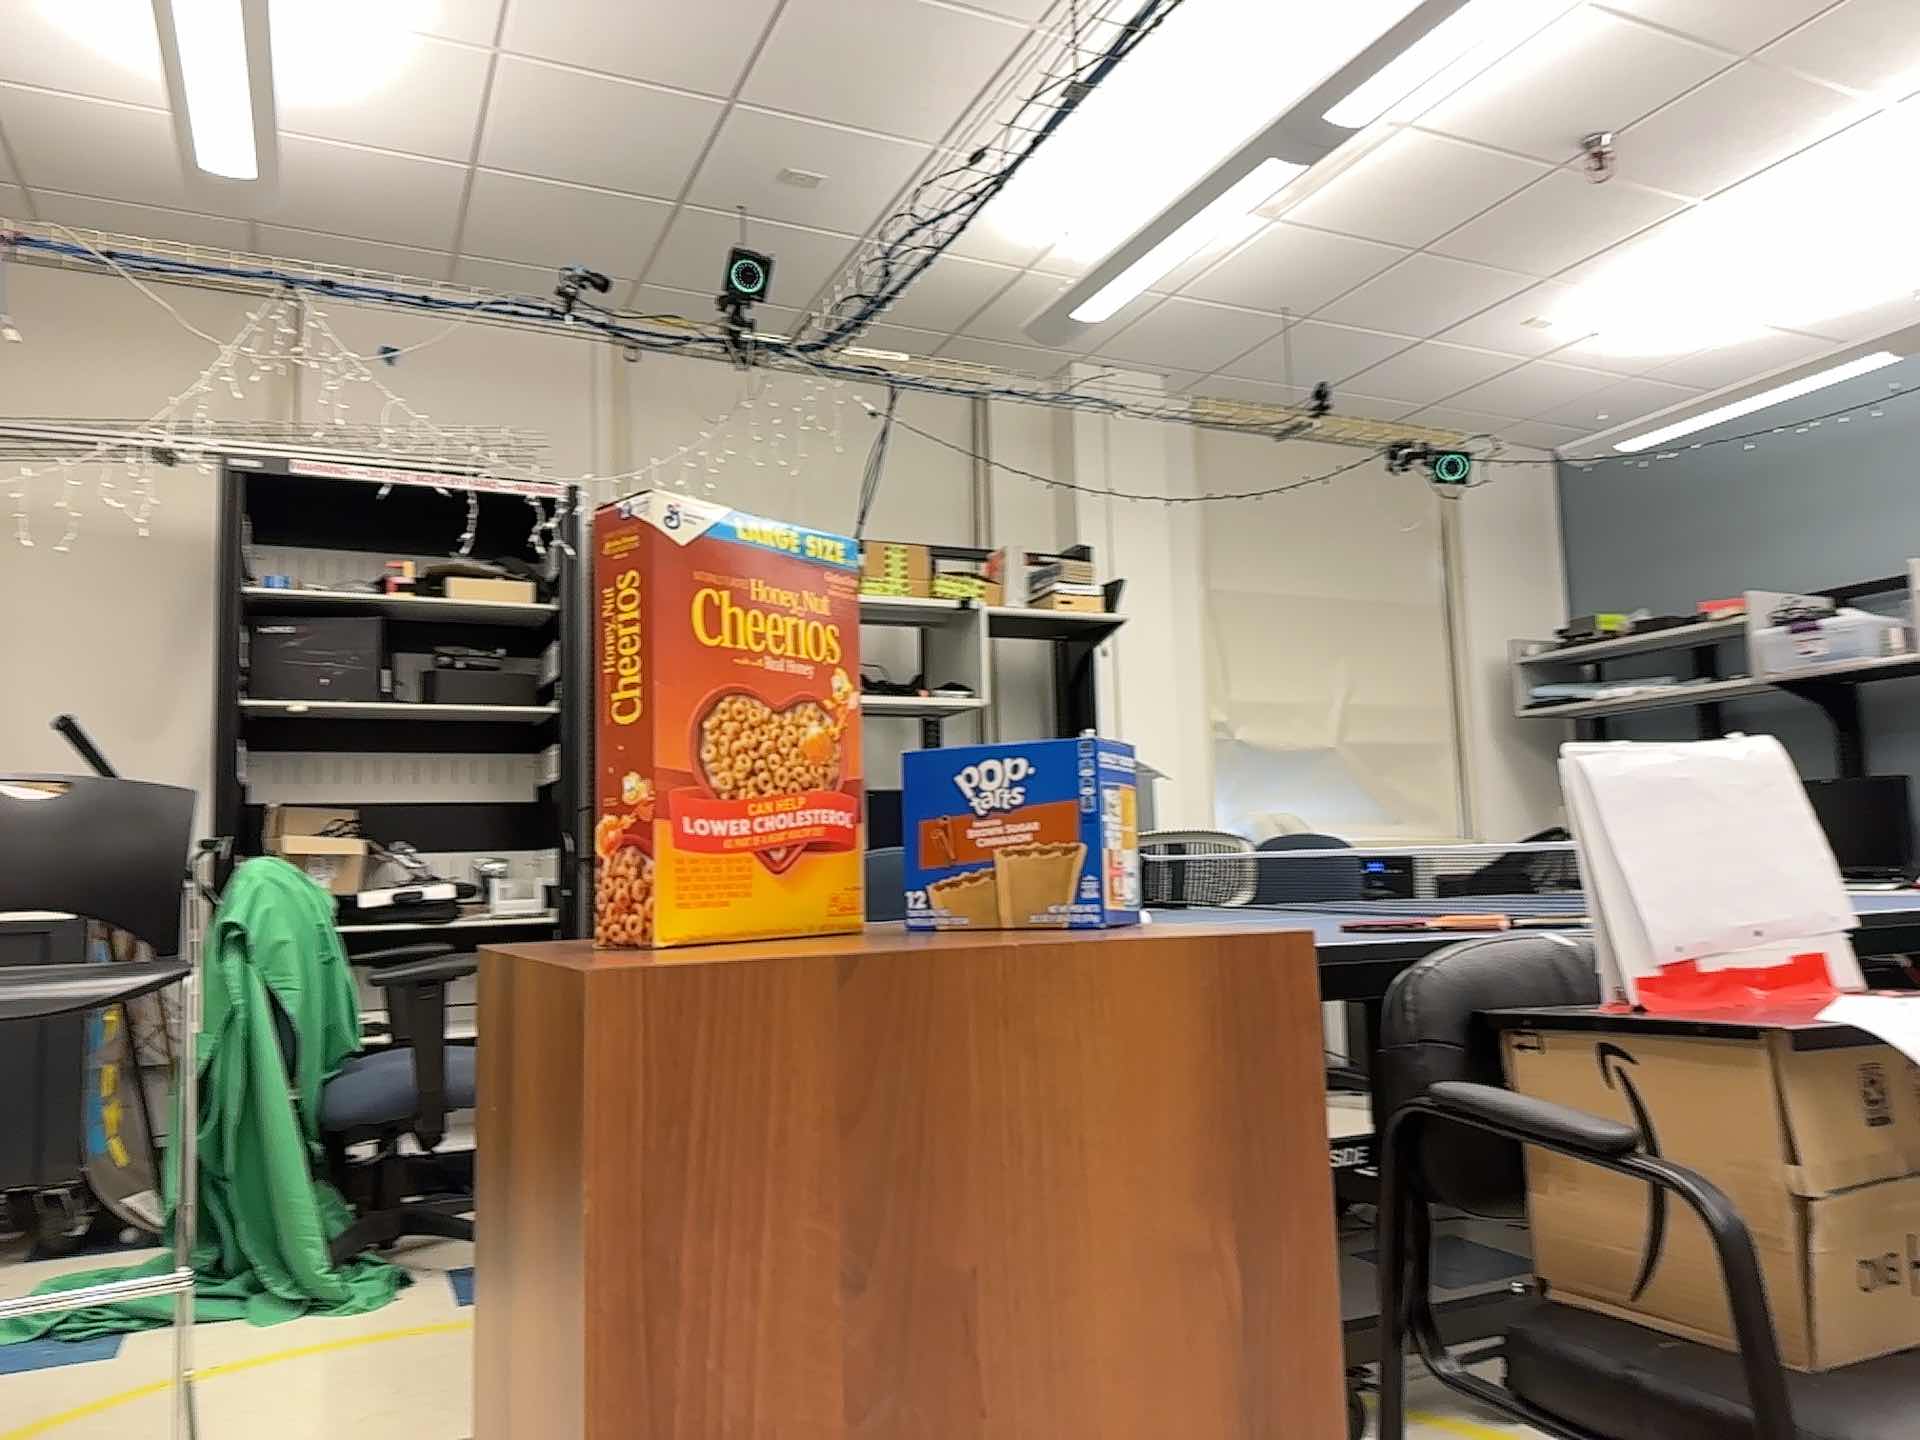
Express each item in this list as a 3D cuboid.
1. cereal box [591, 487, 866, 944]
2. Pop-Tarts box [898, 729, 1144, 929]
[{"bbox_3d":[-0.163,0.003,0.971,0.065,0.297,0.195,-7,-9,36],"label":"cereal box"},{"bbox_3d":[0.044,0.086,1.025,0.161,0.135,0.075,-5,-9,27],"label":"Pop-Tarts box"}]
